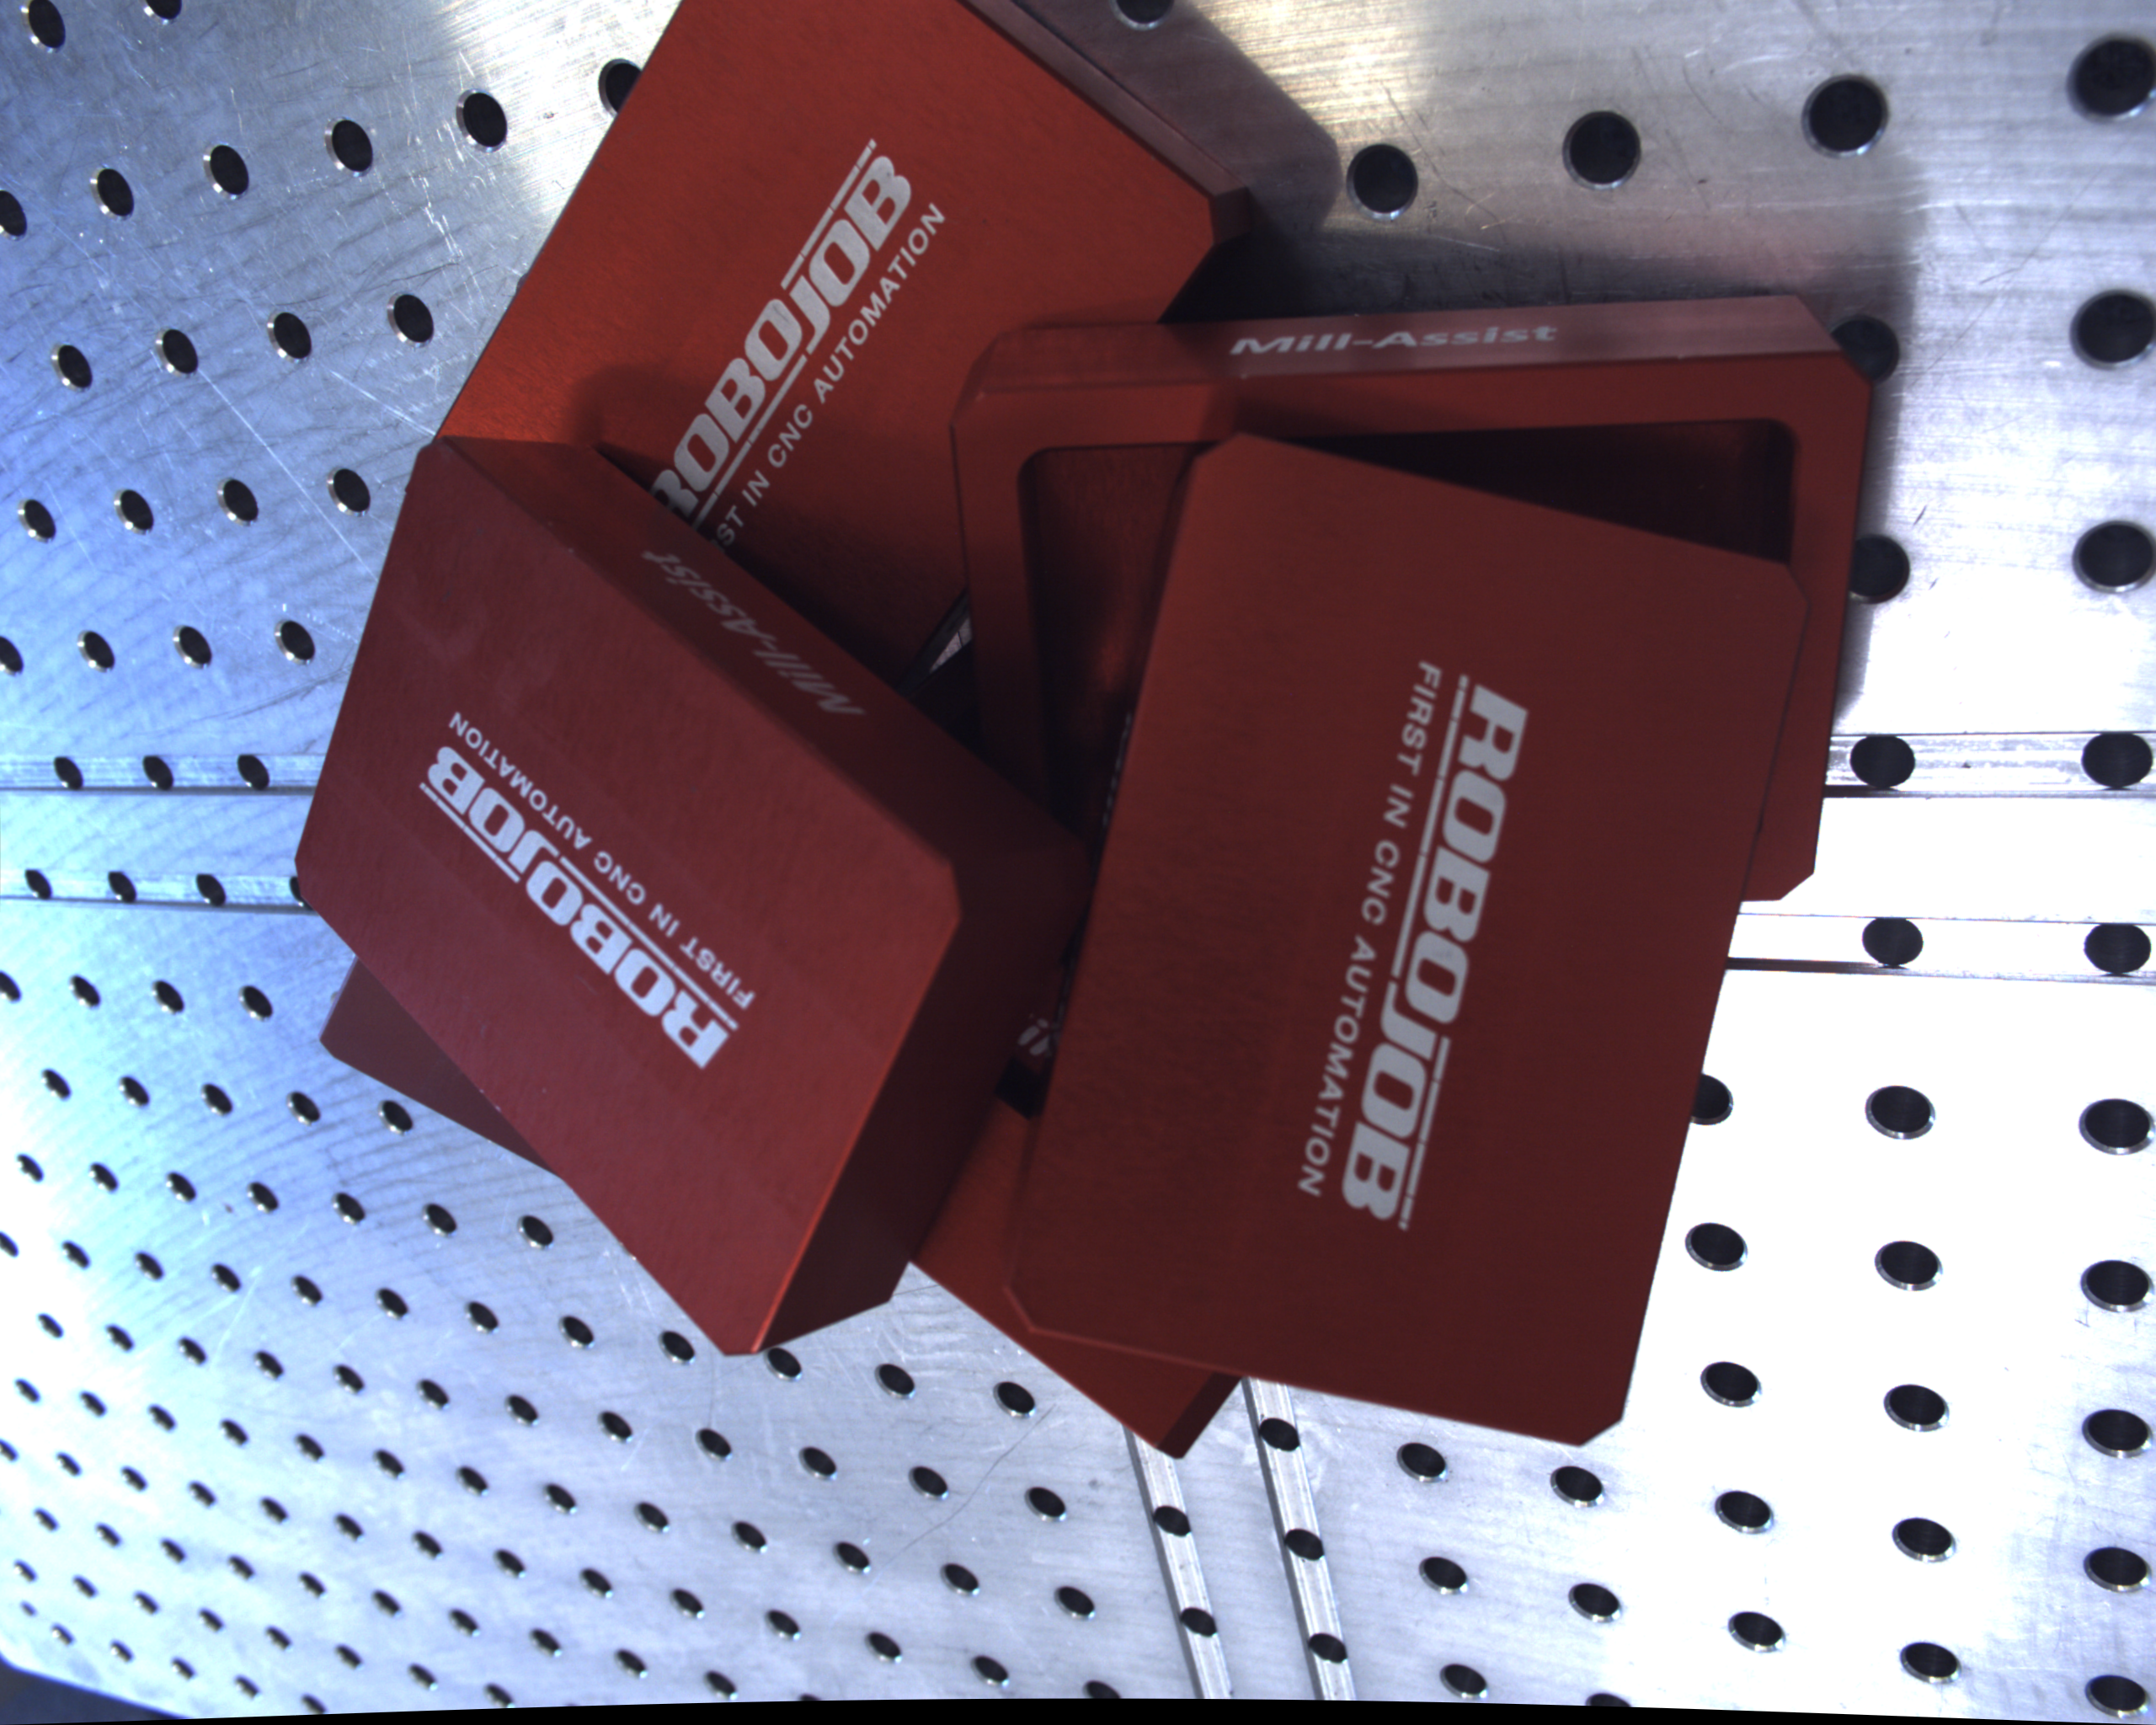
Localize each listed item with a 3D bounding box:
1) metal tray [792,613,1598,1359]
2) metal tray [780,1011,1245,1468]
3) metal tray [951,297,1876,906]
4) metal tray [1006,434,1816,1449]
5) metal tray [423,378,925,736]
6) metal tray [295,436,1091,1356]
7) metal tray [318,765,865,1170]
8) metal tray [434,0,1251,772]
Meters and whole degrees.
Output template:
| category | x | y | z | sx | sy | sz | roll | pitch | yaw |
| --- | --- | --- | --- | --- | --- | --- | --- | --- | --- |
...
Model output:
| category | x | y | z | sx | sy | sz | roll | pitch | yaw |
| --- | --- | --- | --- | --- | --- | --- | --- | --- | --- |
| metal tray | 0.025 | 0.013 | 0.365 | 0.130 | 0.090 | 0.030 | 38 | 130 | 3 |
| metal tray | -0.010 | 0.063 | 0.396 | 0.090 | 0.130 | 0.030 | 36 | 87 | 3 |
| metal tray | 0.050 | -0.039 | 0.329 | 0.131 | 0.030 | 0.089 | -1 | 120 | 6 |
| metal tray | 0.047 | 0.012 | 0.309 | 0.090 | 0.030 | 0.129 | 13 | 90 | -4 |
| metal tray | -0.089 | -0.037 | 0.432 | 0.090 | 0.030 | 0.129 | 33 | 129 | 6 |
| metal tray | -0.068 | 0.002 | 0.331 | 0.130 | 0.030 | 0.089 | 39 | 118 | 27 |
| metal tray | -0.105 | 0.026 | 0.451 | 0.090 | 0.030 | 0.129 | 31 | 142 | -12 |
| metal tray | -0.045 | -0.085 | 0.355 | 0.090 | 0.030 | 0.129 | 39 | 115 | -1 |
